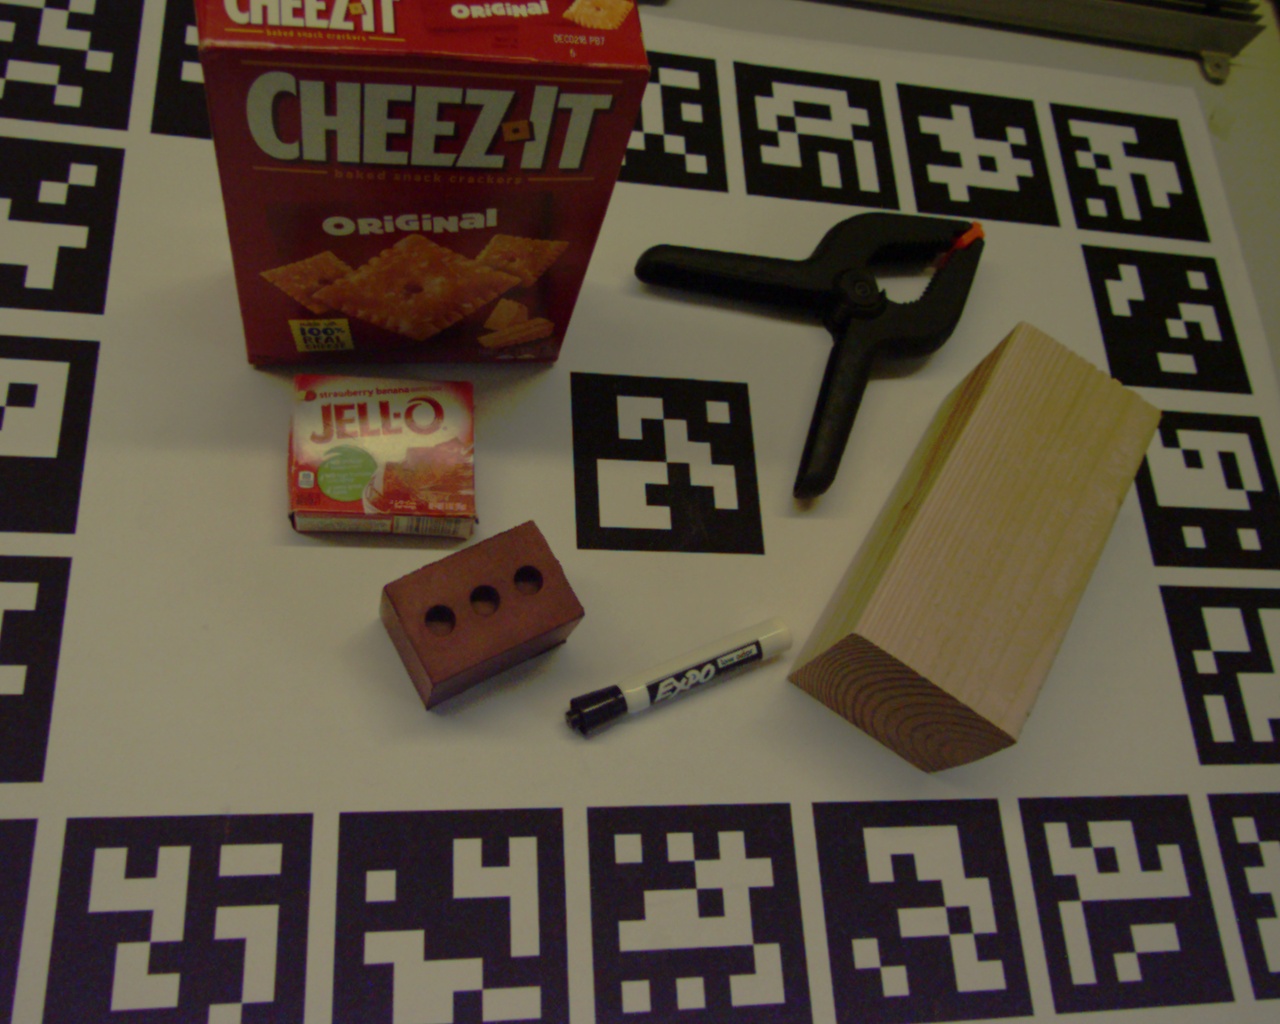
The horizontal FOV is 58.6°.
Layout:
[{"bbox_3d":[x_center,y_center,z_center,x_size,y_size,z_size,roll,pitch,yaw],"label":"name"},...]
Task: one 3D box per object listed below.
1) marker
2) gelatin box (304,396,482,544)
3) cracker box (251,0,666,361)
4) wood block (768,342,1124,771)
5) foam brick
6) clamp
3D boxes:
[{"bbox_3d":[0.003,0.089,0.585,0.120,0.020,0.020,-18,78,-18],"label":"marker"},{"bbox_3d":[-0.128,-0.022,0.594,0.089,0.030,0.073,1,72,-13],"label":"gelatin box"},{"bbox_3d":[-0.096,-0.149,0.540,0.163,0.214,0.072,-1,70,-16],"label":"cracker box"},{"bbox_3d":[0.165,0.022,0.614,0.090,0.091,0.205,33,64,2],"label":"wood block"},{"bbox_3d":[-0.081,0.052,0.563,0.077,0.051,0.053,-23,79,-20],"label":"foam brick"},{"bbox_3d":[0.115,-0.114,0.677,0.201,0.037,0.166,-30,80,-21],"label":"clamp"}]
